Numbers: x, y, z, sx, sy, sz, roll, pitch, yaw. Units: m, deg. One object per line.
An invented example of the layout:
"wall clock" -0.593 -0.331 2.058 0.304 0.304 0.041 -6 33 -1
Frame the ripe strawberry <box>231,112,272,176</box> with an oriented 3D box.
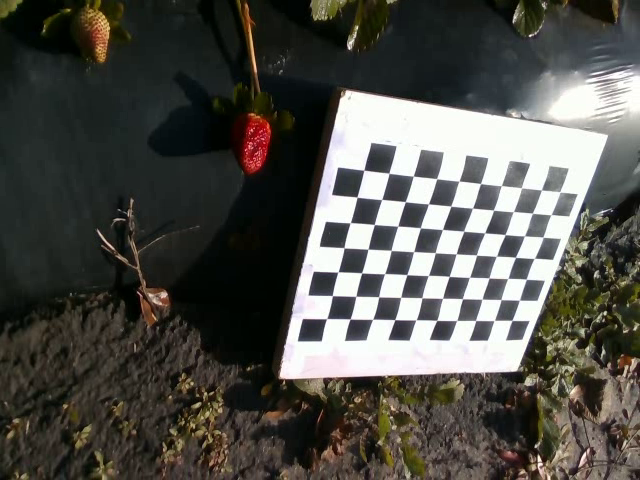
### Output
"ripe strawberry" -0.020 -0.027 0.167 0.015 0.023 0.015 12 -32 -27
